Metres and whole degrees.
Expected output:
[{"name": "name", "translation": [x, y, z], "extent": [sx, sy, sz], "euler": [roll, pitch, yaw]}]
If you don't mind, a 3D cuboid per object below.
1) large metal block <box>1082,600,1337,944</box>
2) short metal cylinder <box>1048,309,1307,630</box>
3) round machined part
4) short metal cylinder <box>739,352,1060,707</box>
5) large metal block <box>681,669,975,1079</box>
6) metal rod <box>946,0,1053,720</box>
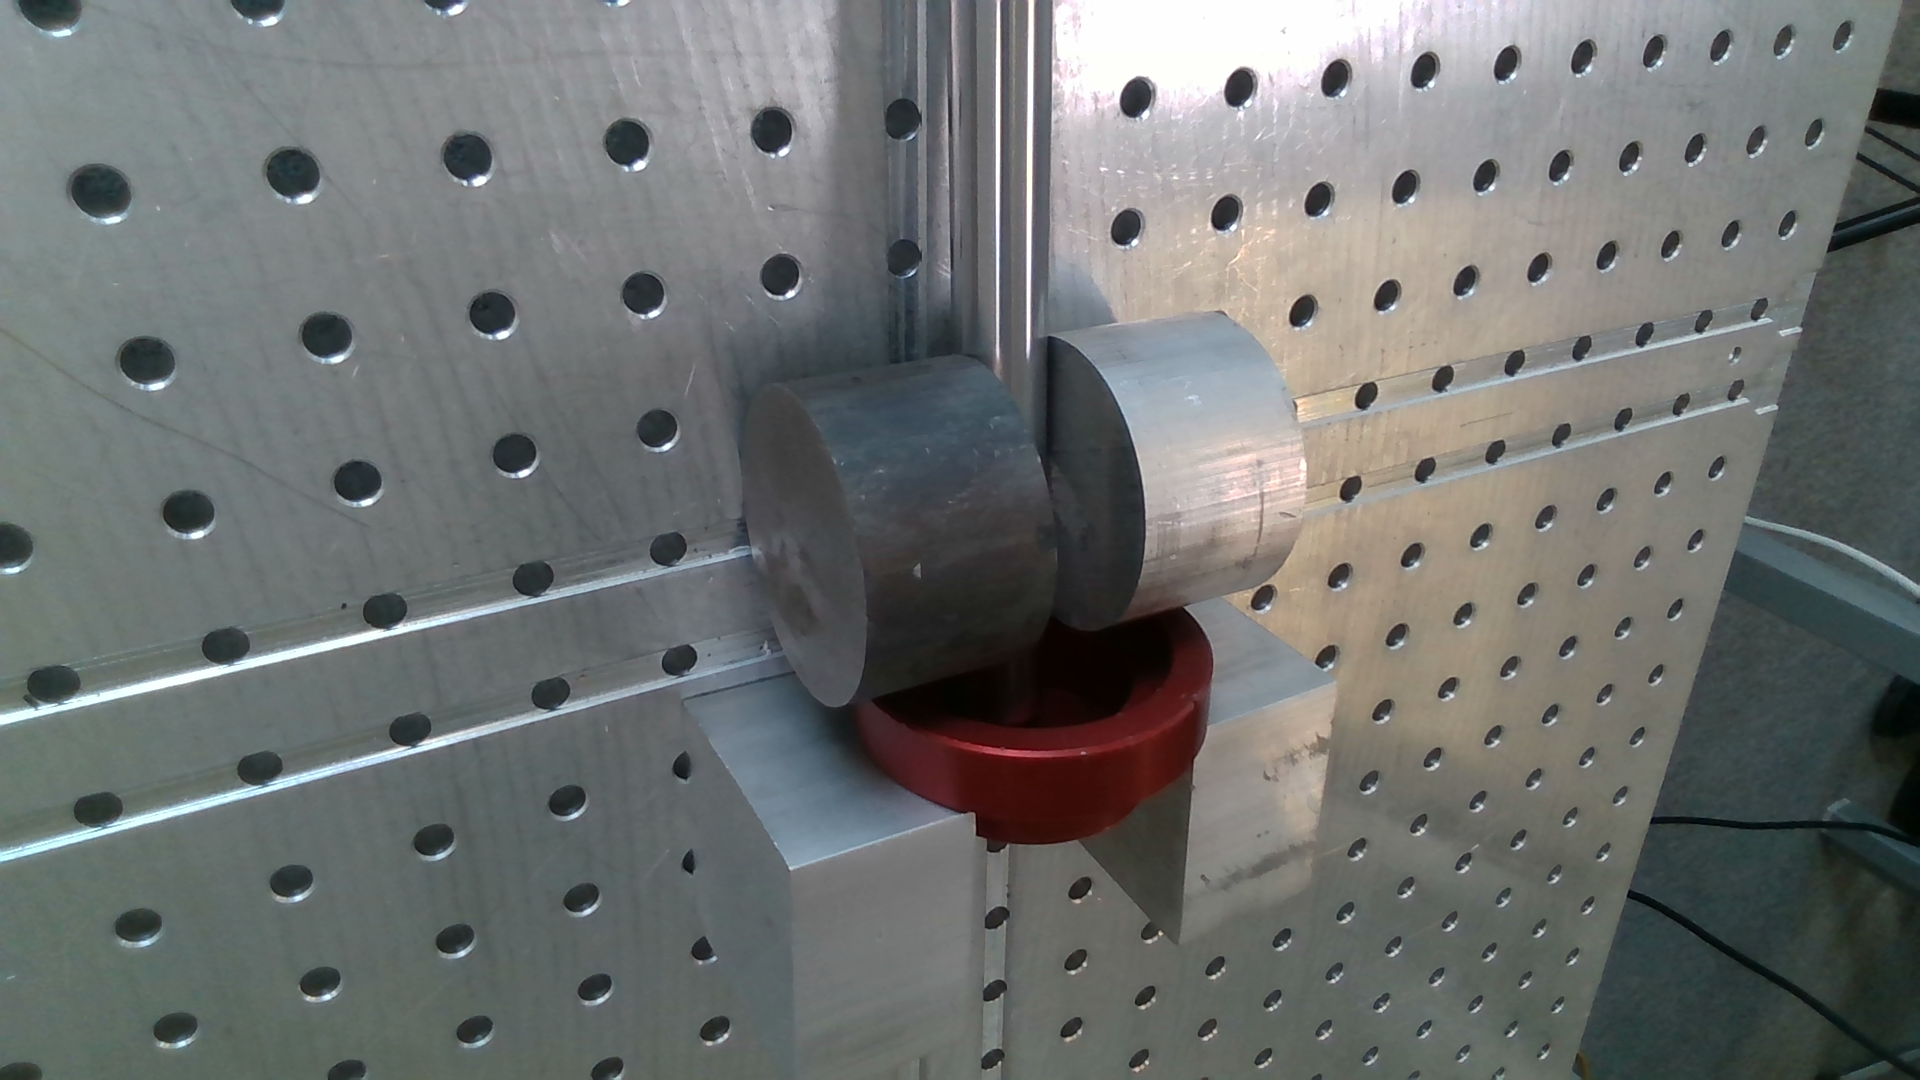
[{"name": "large metal block", "translation": [0.067, 0.063, 0.434], "extent": [0.050, 0.080, 0.080], "euler": [-15, 122, -25]}, {"name": "short metal cylinder", "translation": [0.048, -0.020, 0.377], "extent": [0.050, 0.080, 0.080], "euler": [-14, 121, -25]}, {"name": "round machined part", "translation": [0.019, 0.047, 0.383], "extent": [0.098, 0.098, 0.042], "euler": [-14, 121, -25]}, {"name": "short metal cylinder", "translation": [-0.017, -0.004, 0.344], "extent": [0.050, 0.080, 0.080], "euler": [-13, 121, -25]}, {"name": "large metal block", "translation": [-0.039, 0.090, 0.384], "extent": [0.050, 0.080, 0.080], "euler": [-12, 120, -26]}, {"name": "metal rod", "translation": [0.009, -0.091, 0.334], "extent": [0.025, 0.025, 0.301], "euler": [-13, 117, -26]}]
